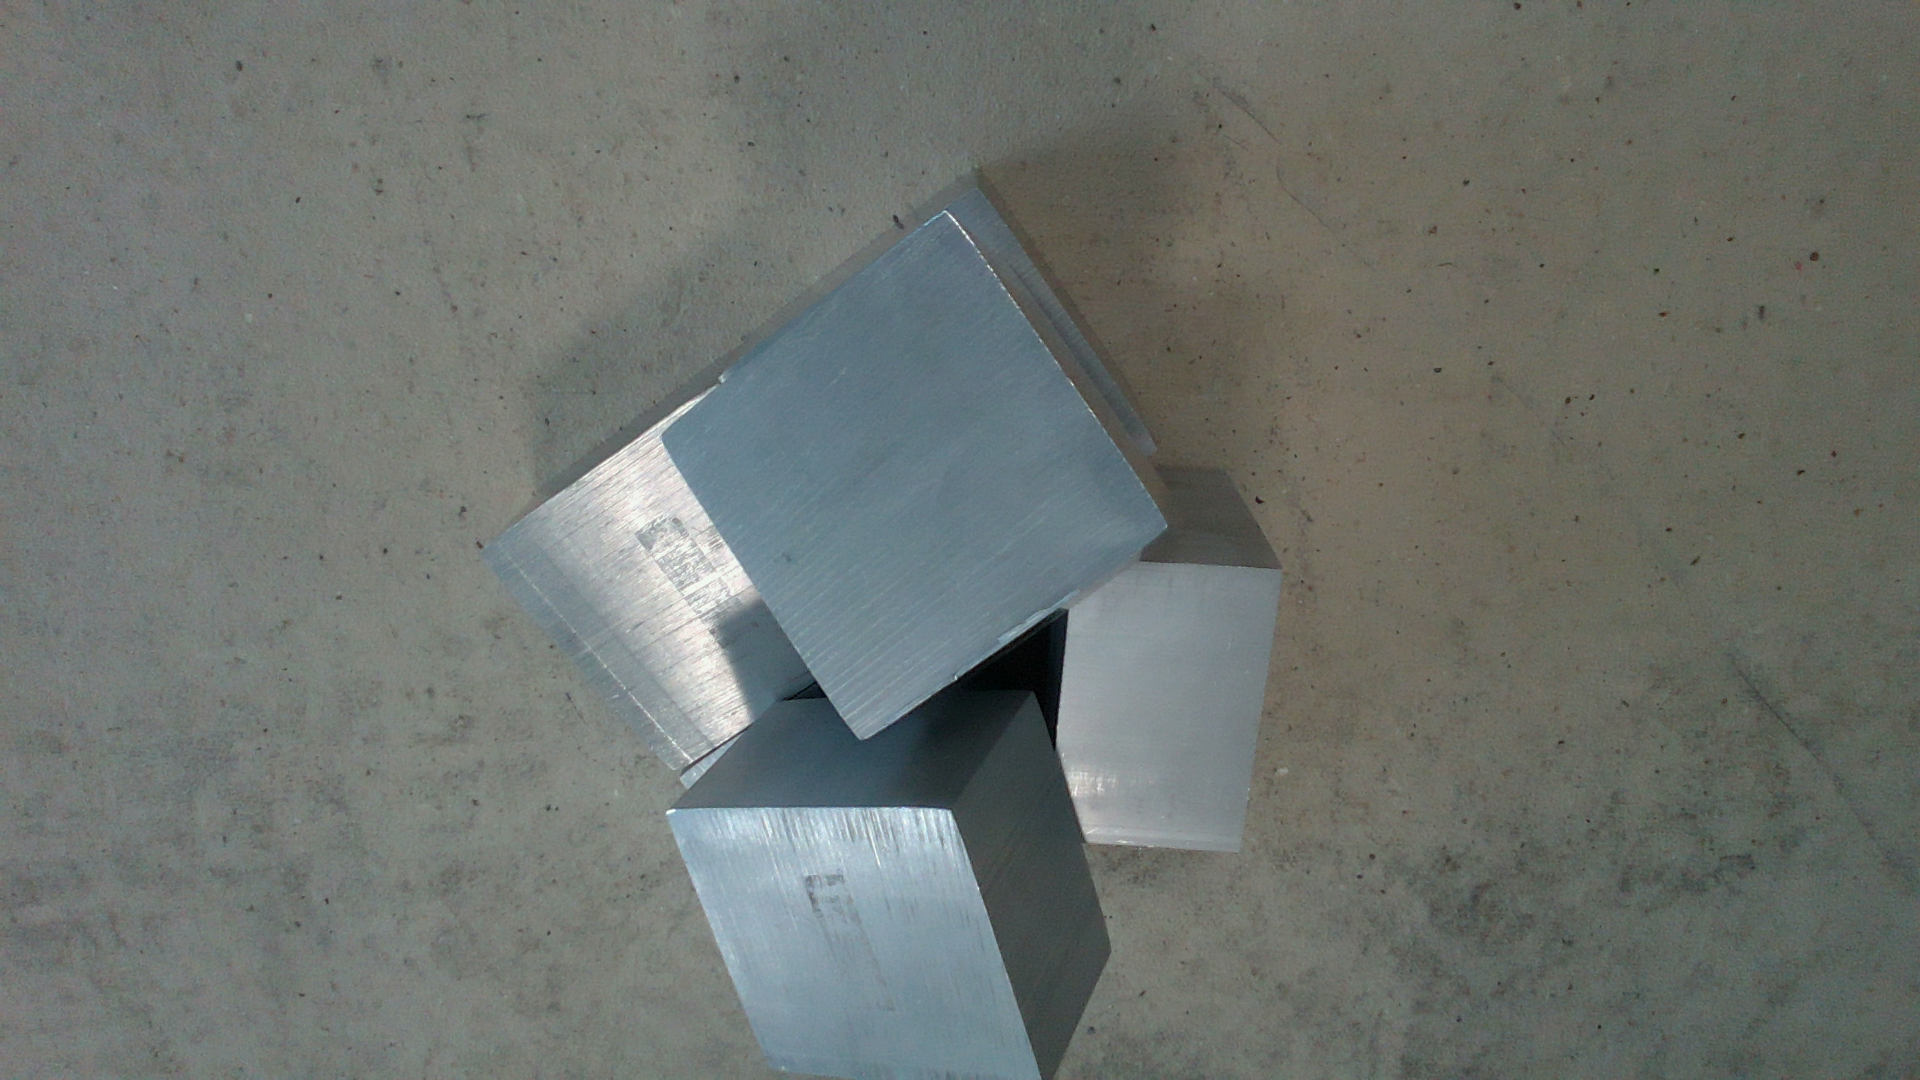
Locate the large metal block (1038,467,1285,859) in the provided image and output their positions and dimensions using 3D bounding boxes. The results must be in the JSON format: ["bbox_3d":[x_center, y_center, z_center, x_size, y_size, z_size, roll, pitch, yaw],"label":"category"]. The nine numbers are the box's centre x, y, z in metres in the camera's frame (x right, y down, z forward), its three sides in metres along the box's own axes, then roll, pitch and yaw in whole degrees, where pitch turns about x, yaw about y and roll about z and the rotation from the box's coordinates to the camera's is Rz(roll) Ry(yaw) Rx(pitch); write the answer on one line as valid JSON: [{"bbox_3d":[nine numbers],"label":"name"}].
[{"bbox_3d":[0.050,0.029,0.376,0.050,0.080,0.080,3,110,-1],"label":"large metal block"}]

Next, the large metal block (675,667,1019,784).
[{"bbox_3d":[-0.023,0.064,0.406,0.080,0.050,0.080,-34,107,11],"label":"large metal block"}]

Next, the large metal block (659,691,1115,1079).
[{"bbox_3d":[-0.016,0.087,0.344,0.080,0.050,0.080,-6,113,28],"label":"large metal block"}]

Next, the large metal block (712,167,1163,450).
[{"bbox_3d":[-0.005,-0.041,0.364,0.080,0.050,0.080,-34,107,11],"label":"large metal block"}]

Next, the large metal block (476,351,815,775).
[{"bbox_3d":[-0.069,0.004,0.383,0.080,0.050,0.080,-34,107,11],"label":"large metal block"}]

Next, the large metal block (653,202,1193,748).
[{"bbox_3d":[-0.005,-0.013,0.306,0.080,0.050,0.080,-36,83,12],"label":"large metal block"}]
